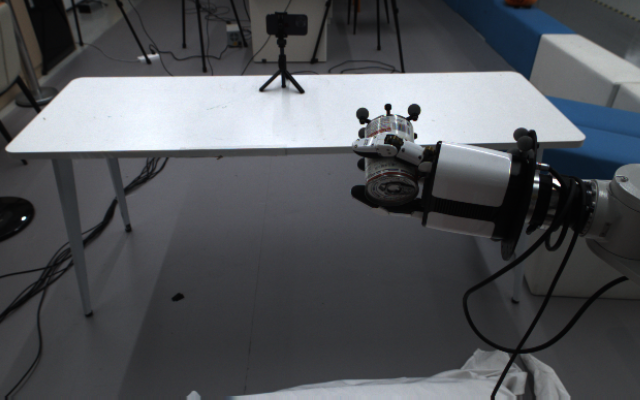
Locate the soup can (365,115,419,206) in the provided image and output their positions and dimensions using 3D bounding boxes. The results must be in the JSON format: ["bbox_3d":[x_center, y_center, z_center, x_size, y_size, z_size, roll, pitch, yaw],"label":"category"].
[{"bbox_3d":[0.092,-0.052,0.627,0.067,0.067,0.101,3,57,1],"label":"soup can"}]
